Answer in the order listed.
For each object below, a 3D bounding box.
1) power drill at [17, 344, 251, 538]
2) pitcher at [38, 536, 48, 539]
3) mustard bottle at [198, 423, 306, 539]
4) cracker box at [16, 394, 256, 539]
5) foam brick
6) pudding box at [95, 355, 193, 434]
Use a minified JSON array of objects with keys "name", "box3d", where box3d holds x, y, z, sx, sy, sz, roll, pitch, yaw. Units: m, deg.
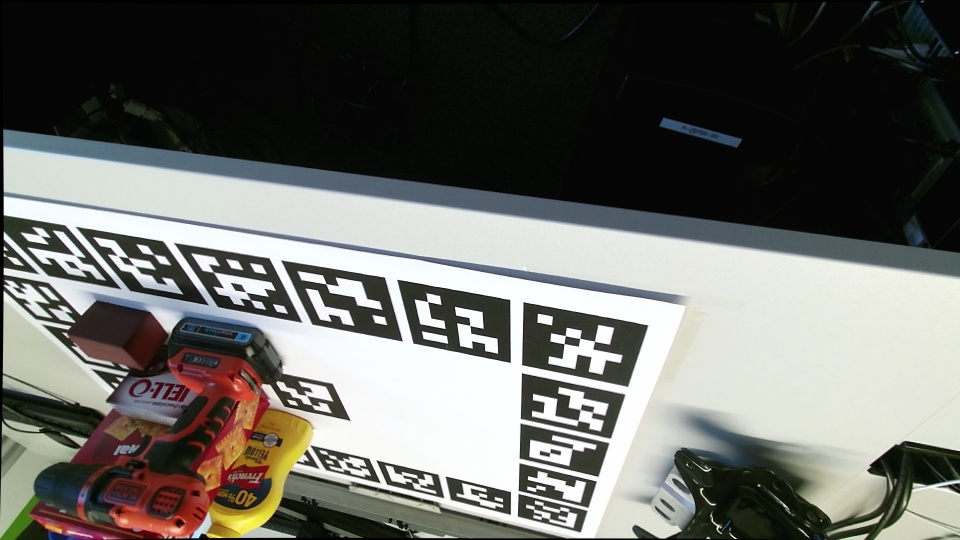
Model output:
[{"name":"power drill","box3d":[-0.346,0.170,0.559,0.185,0.186,0.057,8,139,12]},{"name":"pitcher","box3d":[-0.452,0.296,0.738,0.189,0.241,0.133,11,136,4]},{"name":"mustard bottle","box3d":[-0.320,0.307,0.722,0.096,0.191,0.058,18,136,1]},{"name":"cracker box","box3d":[-0.408,0.227,0.660,0.165,0.212,0.072,5,137,10]},{"name":"foam brick","box3d":[-0.440,0.081,0.648,0.078,0.051,0.053,10,134,9]},{"name":"pudding box","box3d":[-0.389,0.157,0.661,0.114,0.089,0.039,7,137,8]}]
